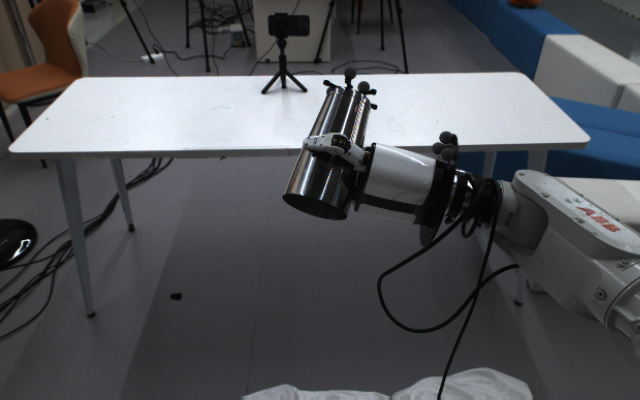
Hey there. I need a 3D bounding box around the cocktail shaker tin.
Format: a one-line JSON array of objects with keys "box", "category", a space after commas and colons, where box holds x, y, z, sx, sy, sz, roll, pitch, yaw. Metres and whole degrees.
[{"box": [0.017, -0.066, 0.676, 0.093, 0.093, 0.170, 14, 74, 16], "category": "cocktail shaker tin"}]
